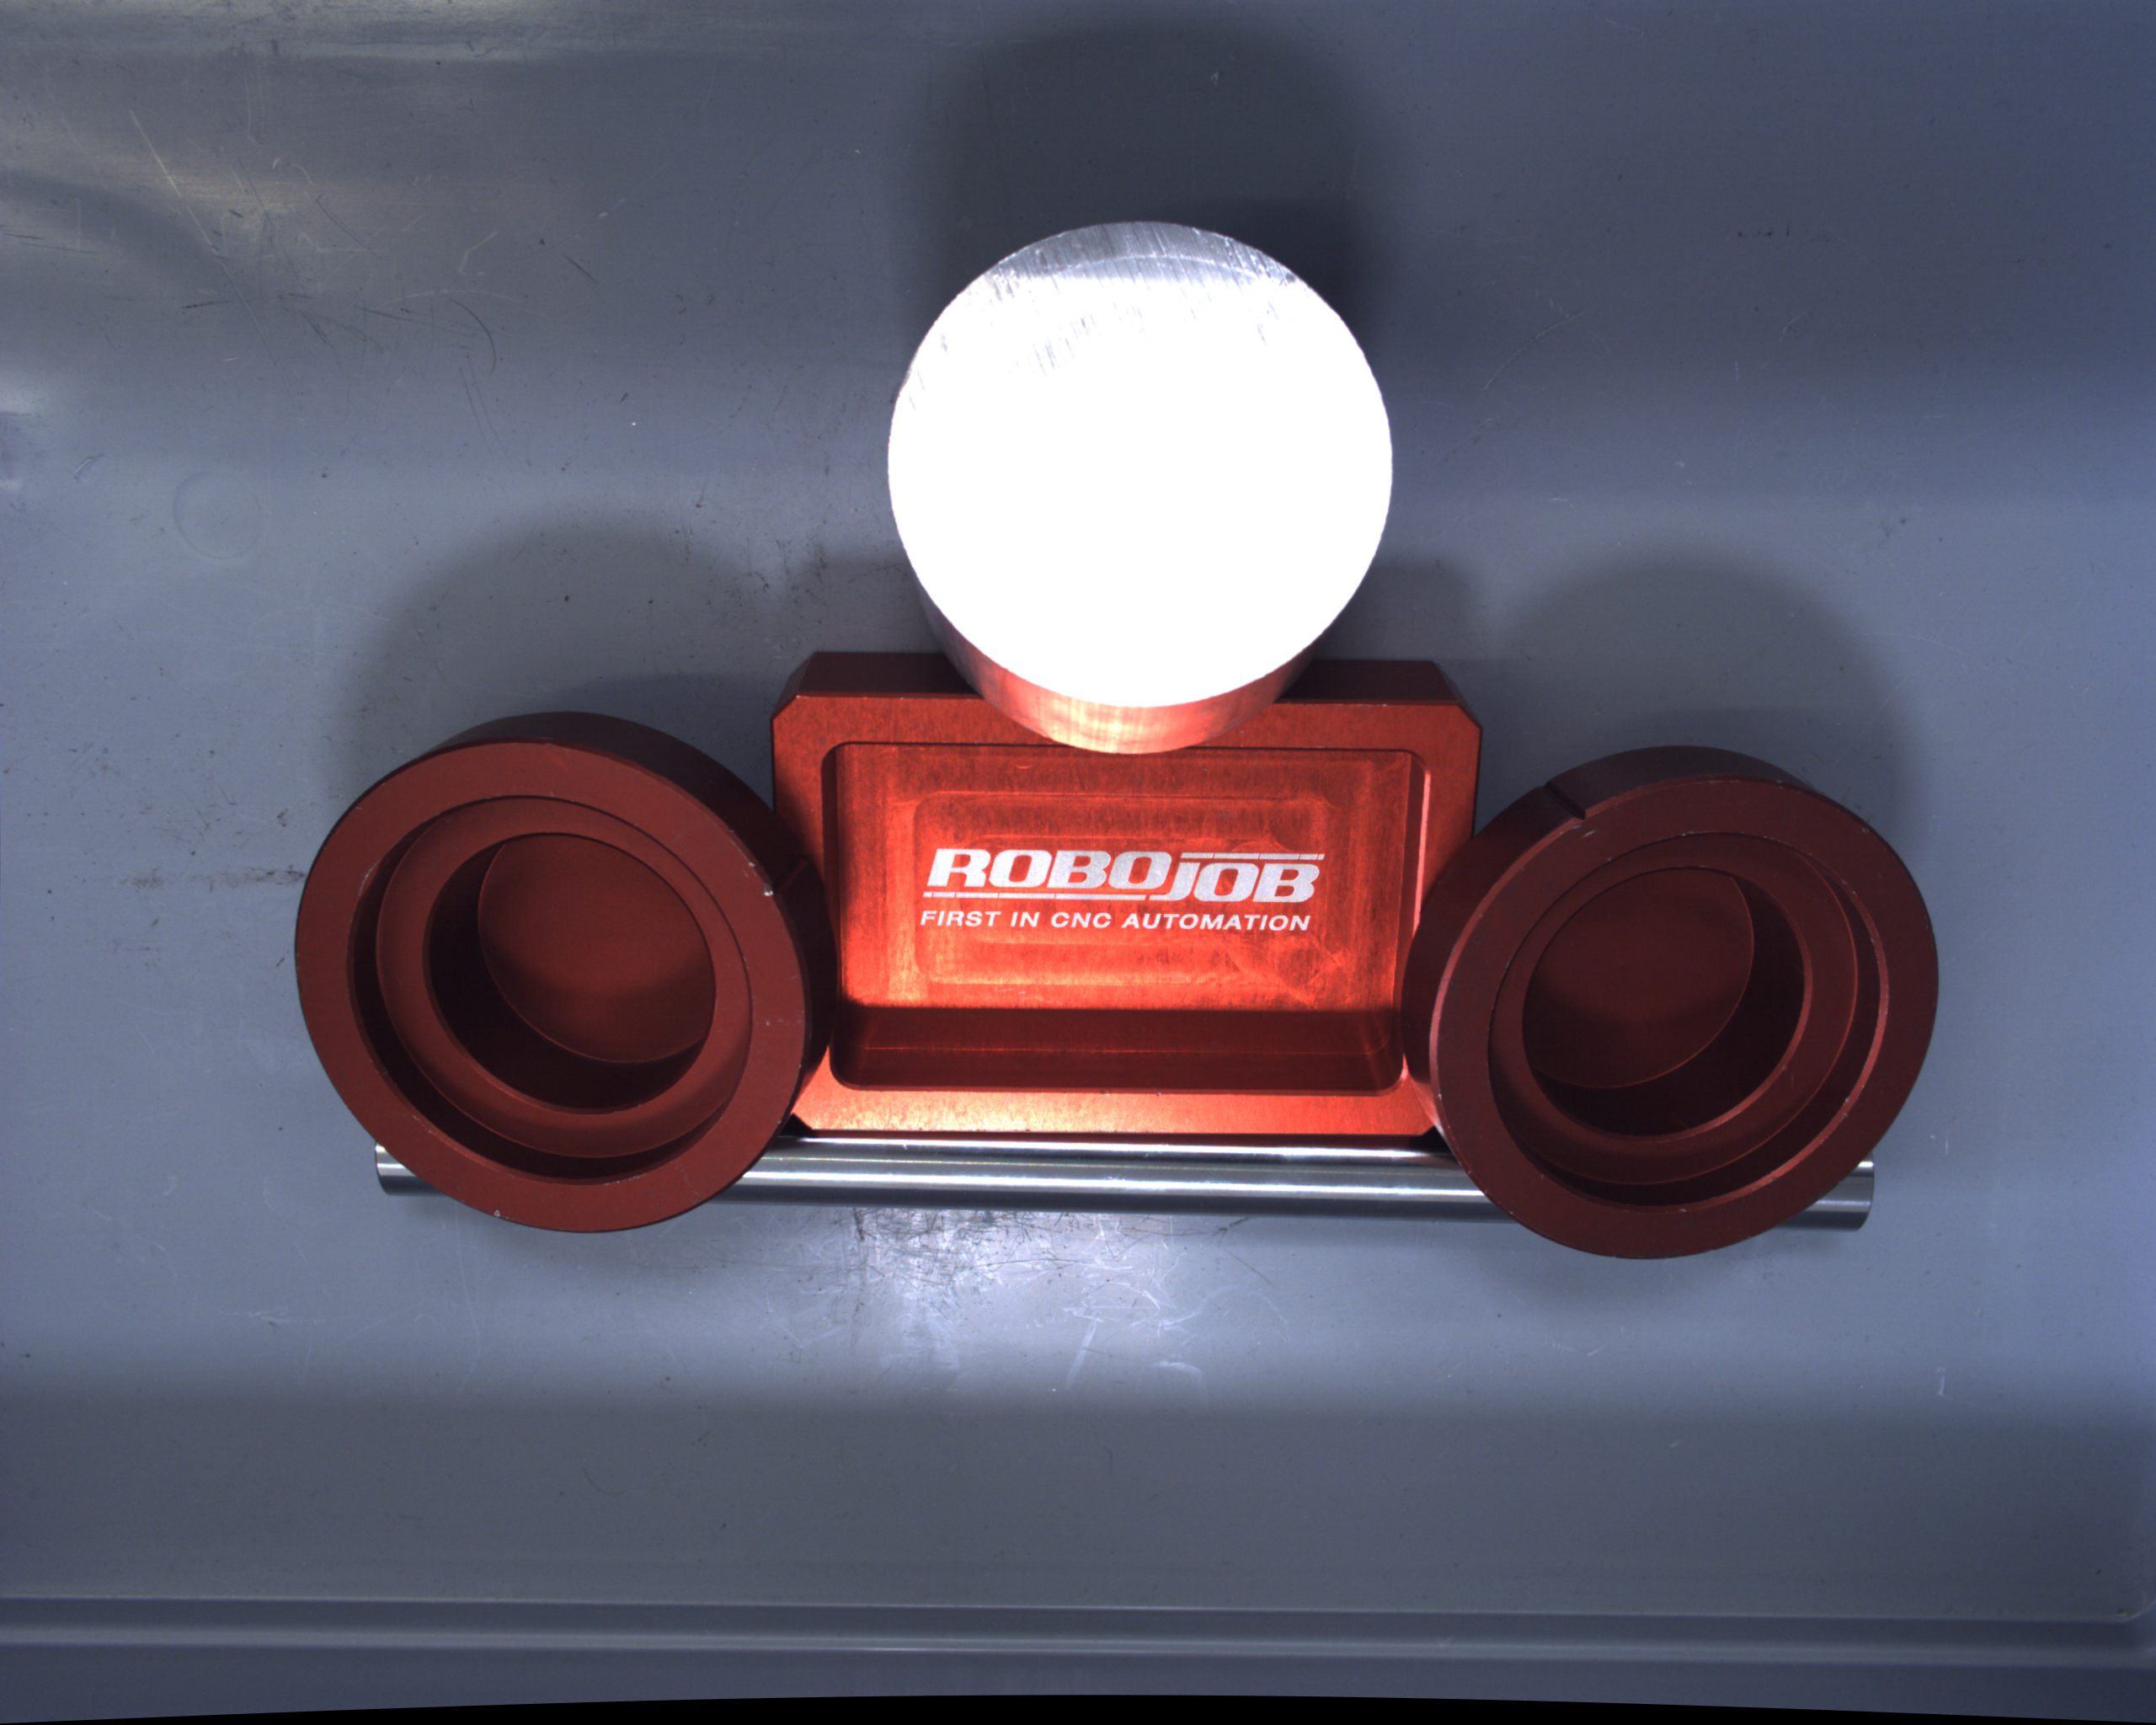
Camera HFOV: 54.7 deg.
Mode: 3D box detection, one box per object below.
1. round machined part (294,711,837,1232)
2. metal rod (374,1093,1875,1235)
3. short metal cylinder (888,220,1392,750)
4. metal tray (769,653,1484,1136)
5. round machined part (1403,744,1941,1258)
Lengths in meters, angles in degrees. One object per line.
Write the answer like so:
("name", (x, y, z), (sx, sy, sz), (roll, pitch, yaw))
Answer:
("round machined part", (-0.094, 0.018, 0.401), (0.099, 0.042, 0.097), (2, 108, 7))
("metal rod", (0.010, 0.061, 0.432), (0.302, 0.025, 0.025), (2, 110, -1))
("short metal cylinder", (0.010, -0.062, 0.358), (0.081, 0.050, 0.080), (0, 84, 0))
("metal tray", (0.008, 0.007, 0.408), (0.131, 0.030, 0.089), (1, 111, -1))
("round machined part", (0.110, 0.024, 0.405), (0.099, 0.042, 0.097), (-3, 109, -8))
